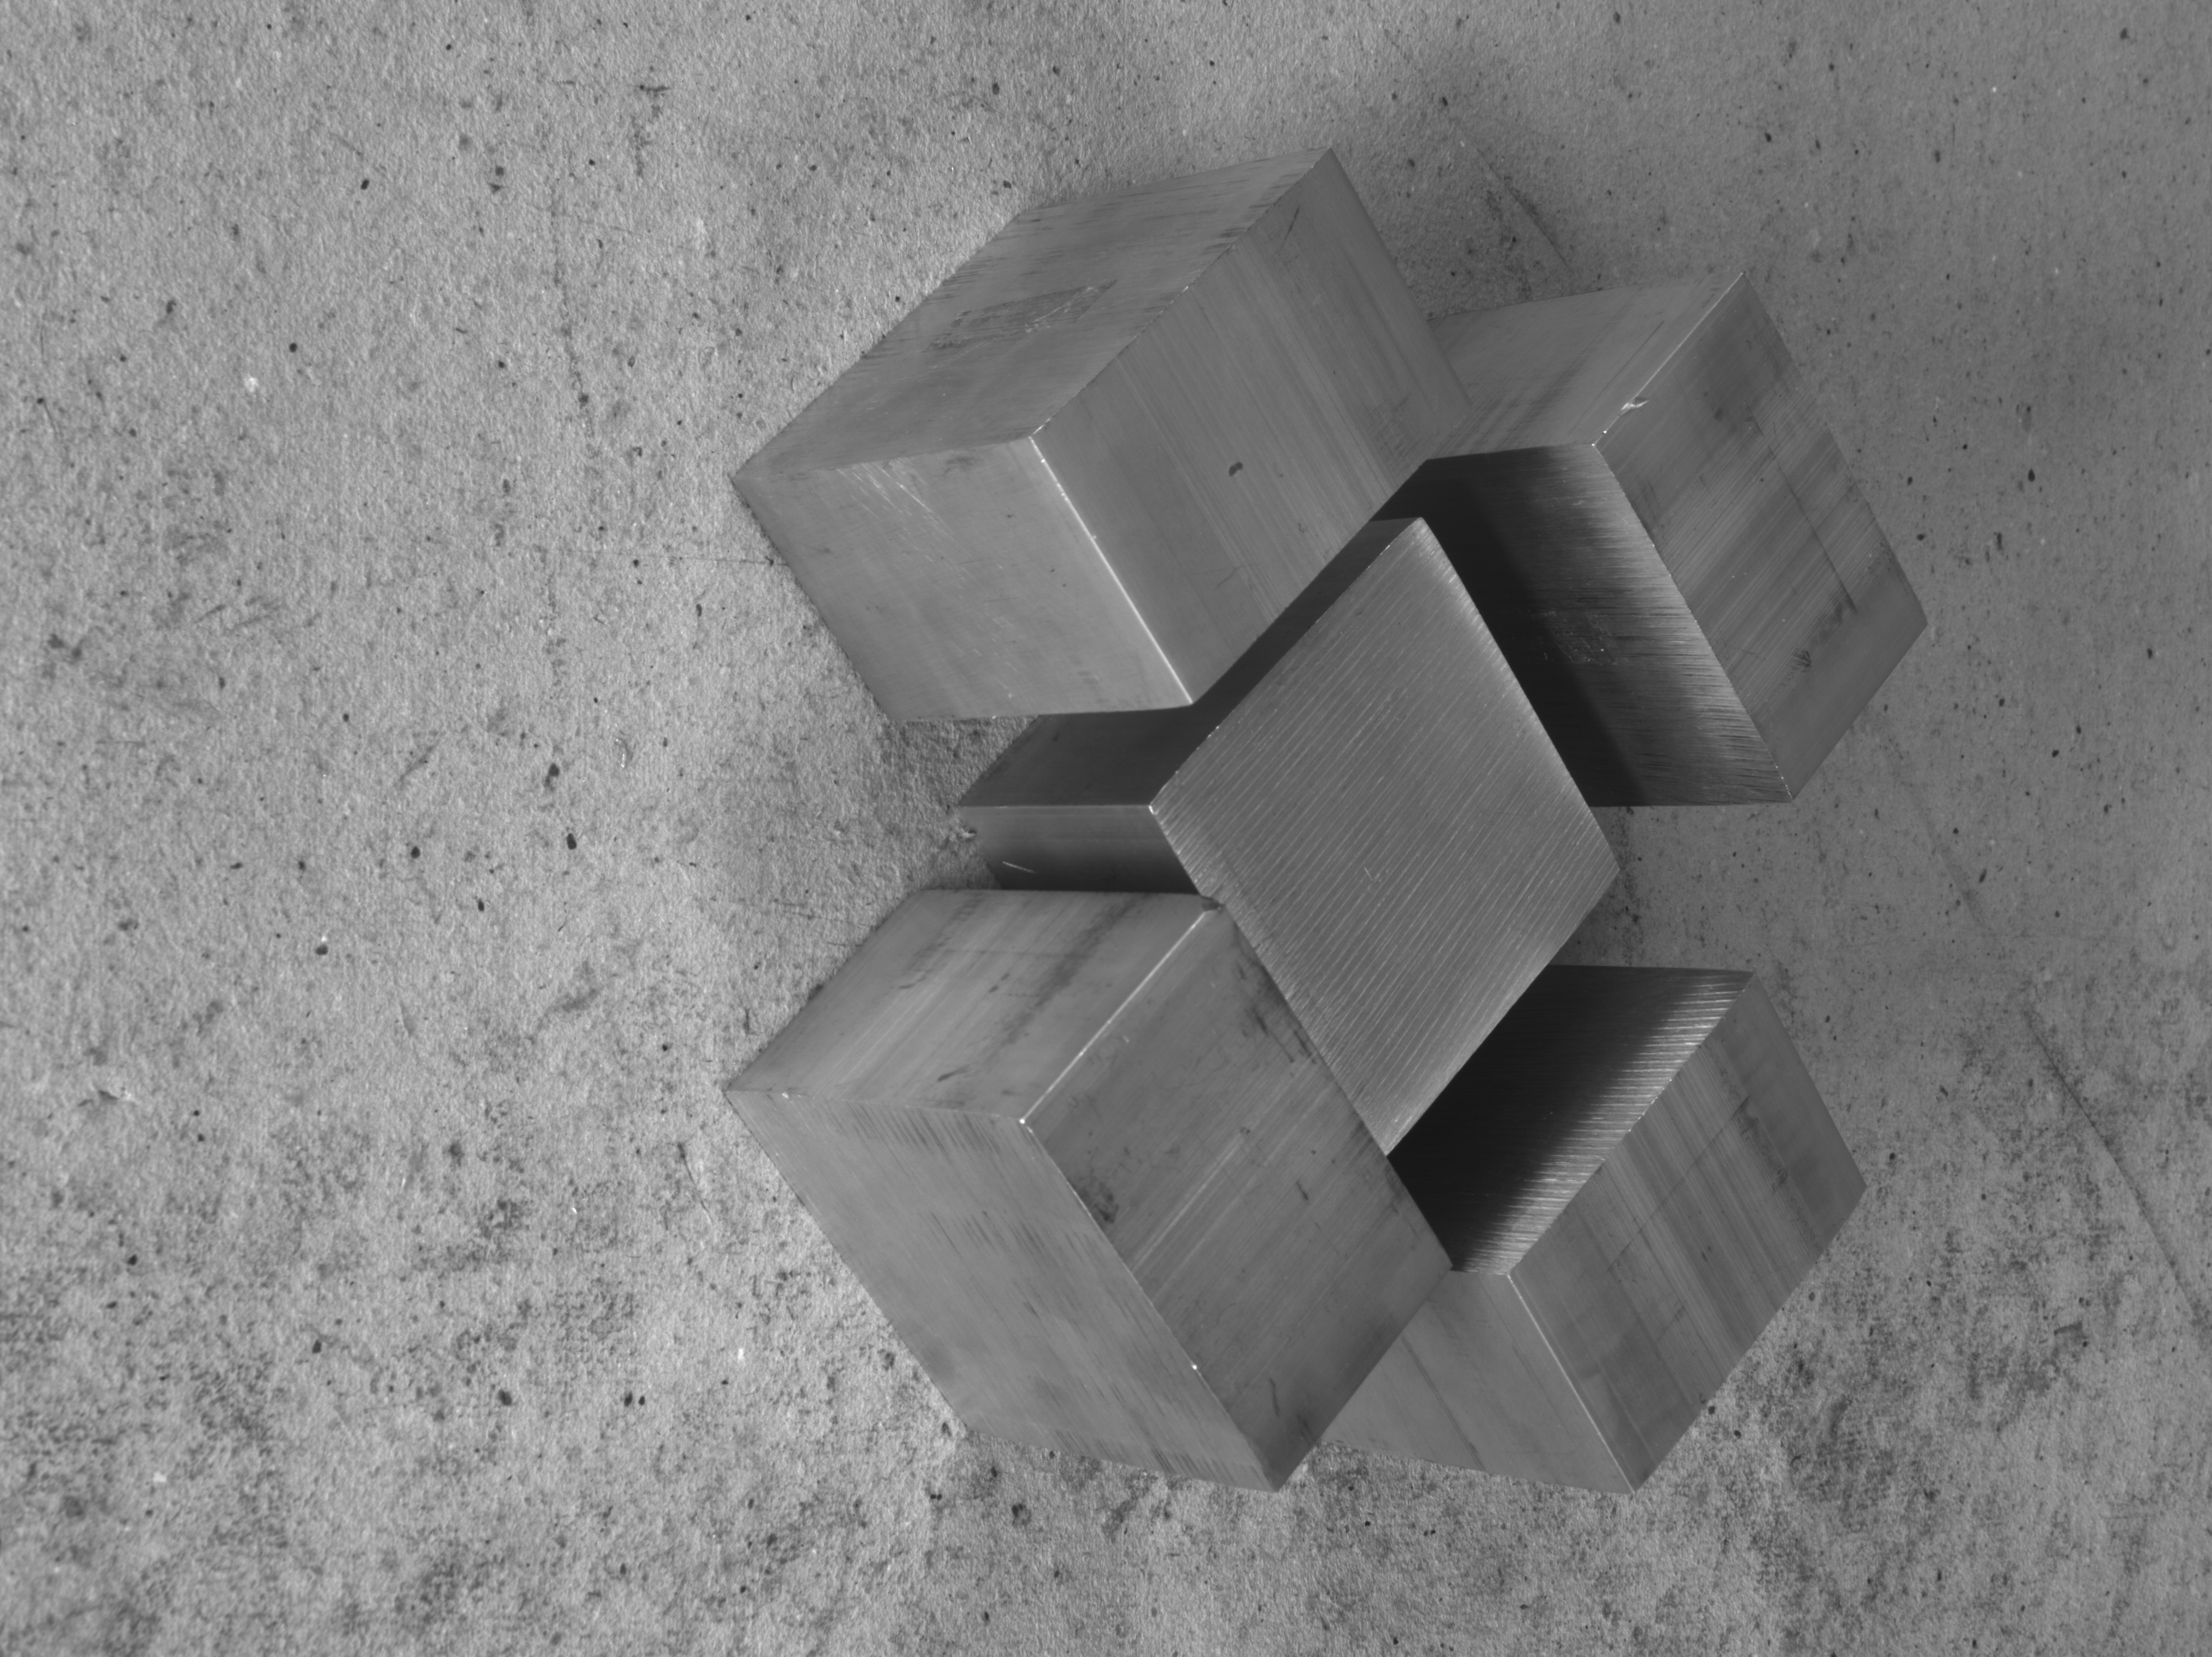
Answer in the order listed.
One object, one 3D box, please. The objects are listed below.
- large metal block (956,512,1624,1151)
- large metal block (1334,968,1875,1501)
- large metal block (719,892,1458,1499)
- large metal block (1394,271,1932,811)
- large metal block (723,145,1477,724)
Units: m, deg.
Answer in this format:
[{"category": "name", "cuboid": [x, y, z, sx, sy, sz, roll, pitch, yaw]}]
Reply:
[{"category": "large metal block", "cuboid": [0.034, 0.002, 0.645, 0.080, 0.050, 0.080, -47, 118, -30]}, {"category": "large metal block", "cuboid": [0.077, 0.070, 0.664, 0.080, 0.080, 0.050, -45, 116, -31]}, {"category": "large metal block", "cuboid": [-0.003, 0.057, 0.598, 0.050, 0.080, 0.080, -47, 118, -29]}, {"category": "large metal block", "cuboid": [0.091, -0.050, 0.676, 0.050, 0.080, 0.080, -49, 118, -30]}, {"category": "large metal block", "cuboid": [-0.001, -0.063, 0.601, 0.080, 0.080, 0.050, -47, 117, -30]}]
